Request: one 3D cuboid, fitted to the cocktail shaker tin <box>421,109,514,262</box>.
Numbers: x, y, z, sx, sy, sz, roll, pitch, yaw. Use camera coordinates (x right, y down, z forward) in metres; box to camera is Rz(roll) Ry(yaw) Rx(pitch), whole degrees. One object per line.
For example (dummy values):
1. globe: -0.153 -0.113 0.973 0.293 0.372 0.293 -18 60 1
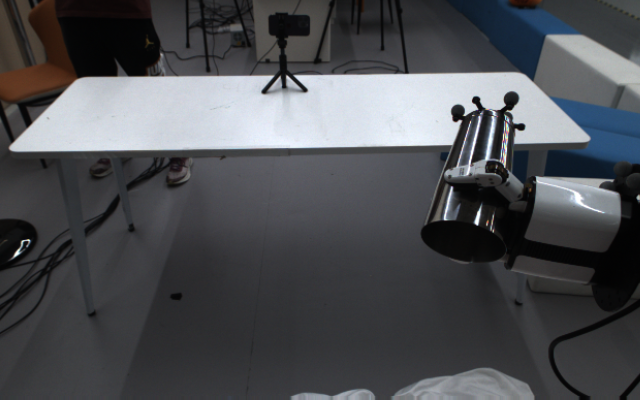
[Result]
1. cocktail shaker tin: 0.184 -0.023 0.571 0.093 0.093 0.170 13 61 15
